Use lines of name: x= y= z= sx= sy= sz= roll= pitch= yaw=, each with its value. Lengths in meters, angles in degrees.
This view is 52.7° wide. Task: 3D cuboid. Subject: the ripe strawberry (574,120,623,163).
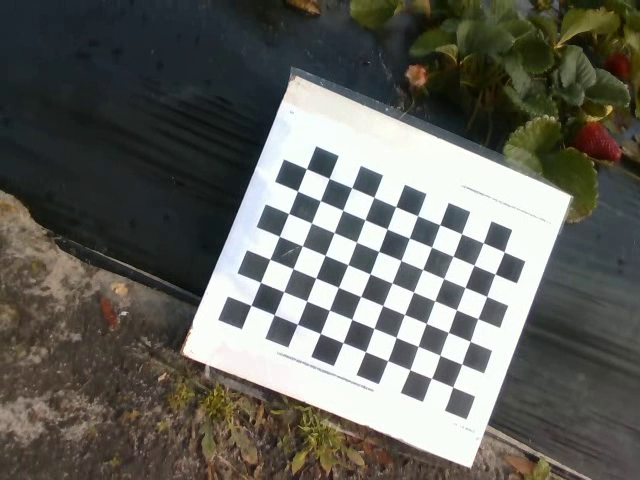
ripe strawberry: x=0.294 y=-0.103 z=0.655 sx=0.050 sy=0.064 sz=0.043 roll=-35 pitch=1 yaw=-9
